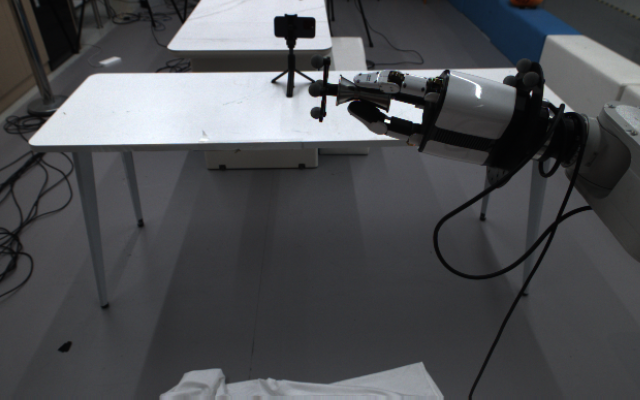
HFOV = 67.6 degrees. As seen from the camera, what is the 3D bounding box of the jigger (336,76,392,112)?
[{"bbox_3d":[0.064,-0.143,0.629,0.071,0.043,0.043,5,35,2],"label":"jigger"}]
